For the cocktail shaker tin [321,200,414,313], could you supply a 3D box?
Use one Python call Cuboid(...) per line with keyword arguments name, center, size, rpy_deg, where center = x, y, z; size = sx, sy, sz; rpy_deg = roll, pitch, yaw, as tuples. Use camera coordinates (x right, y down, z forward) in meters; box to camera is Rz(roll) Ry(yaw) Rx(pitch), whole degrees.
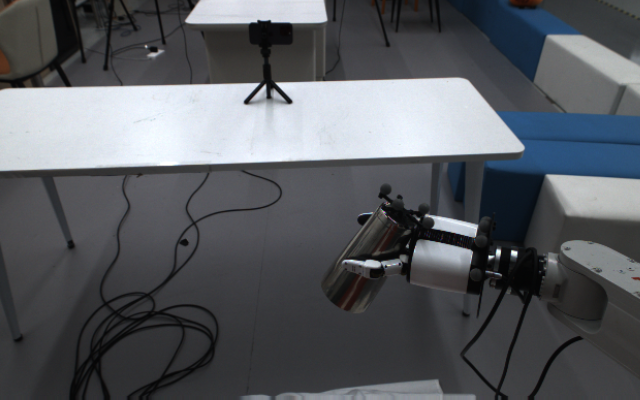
Cuboid(name="cocktail shaker tin", center=(0.081, 0.083, 0.769), size=(0.093, 0.170, 0.093), rpy_deg=(25, 29, -15))
